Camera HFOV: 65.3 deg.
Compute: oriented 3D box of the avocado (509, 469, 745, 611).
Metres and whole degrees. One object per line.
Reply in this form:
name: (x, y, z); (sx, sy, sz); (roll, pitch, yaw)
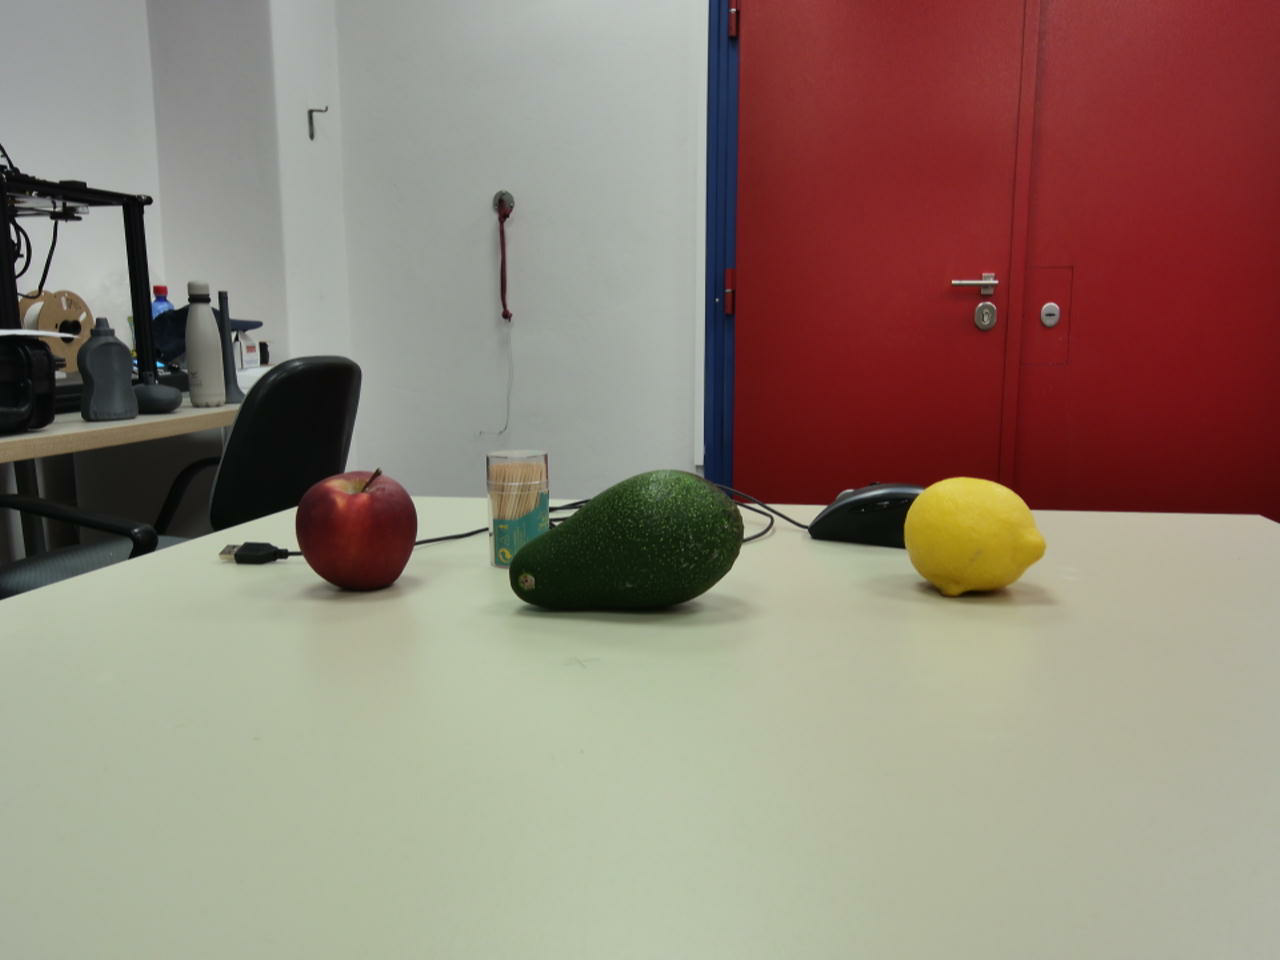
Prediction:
avocado: (-0.004, 0.031, 0.547); (0.123, 0.076, 0.074); (2, 6, 18)
